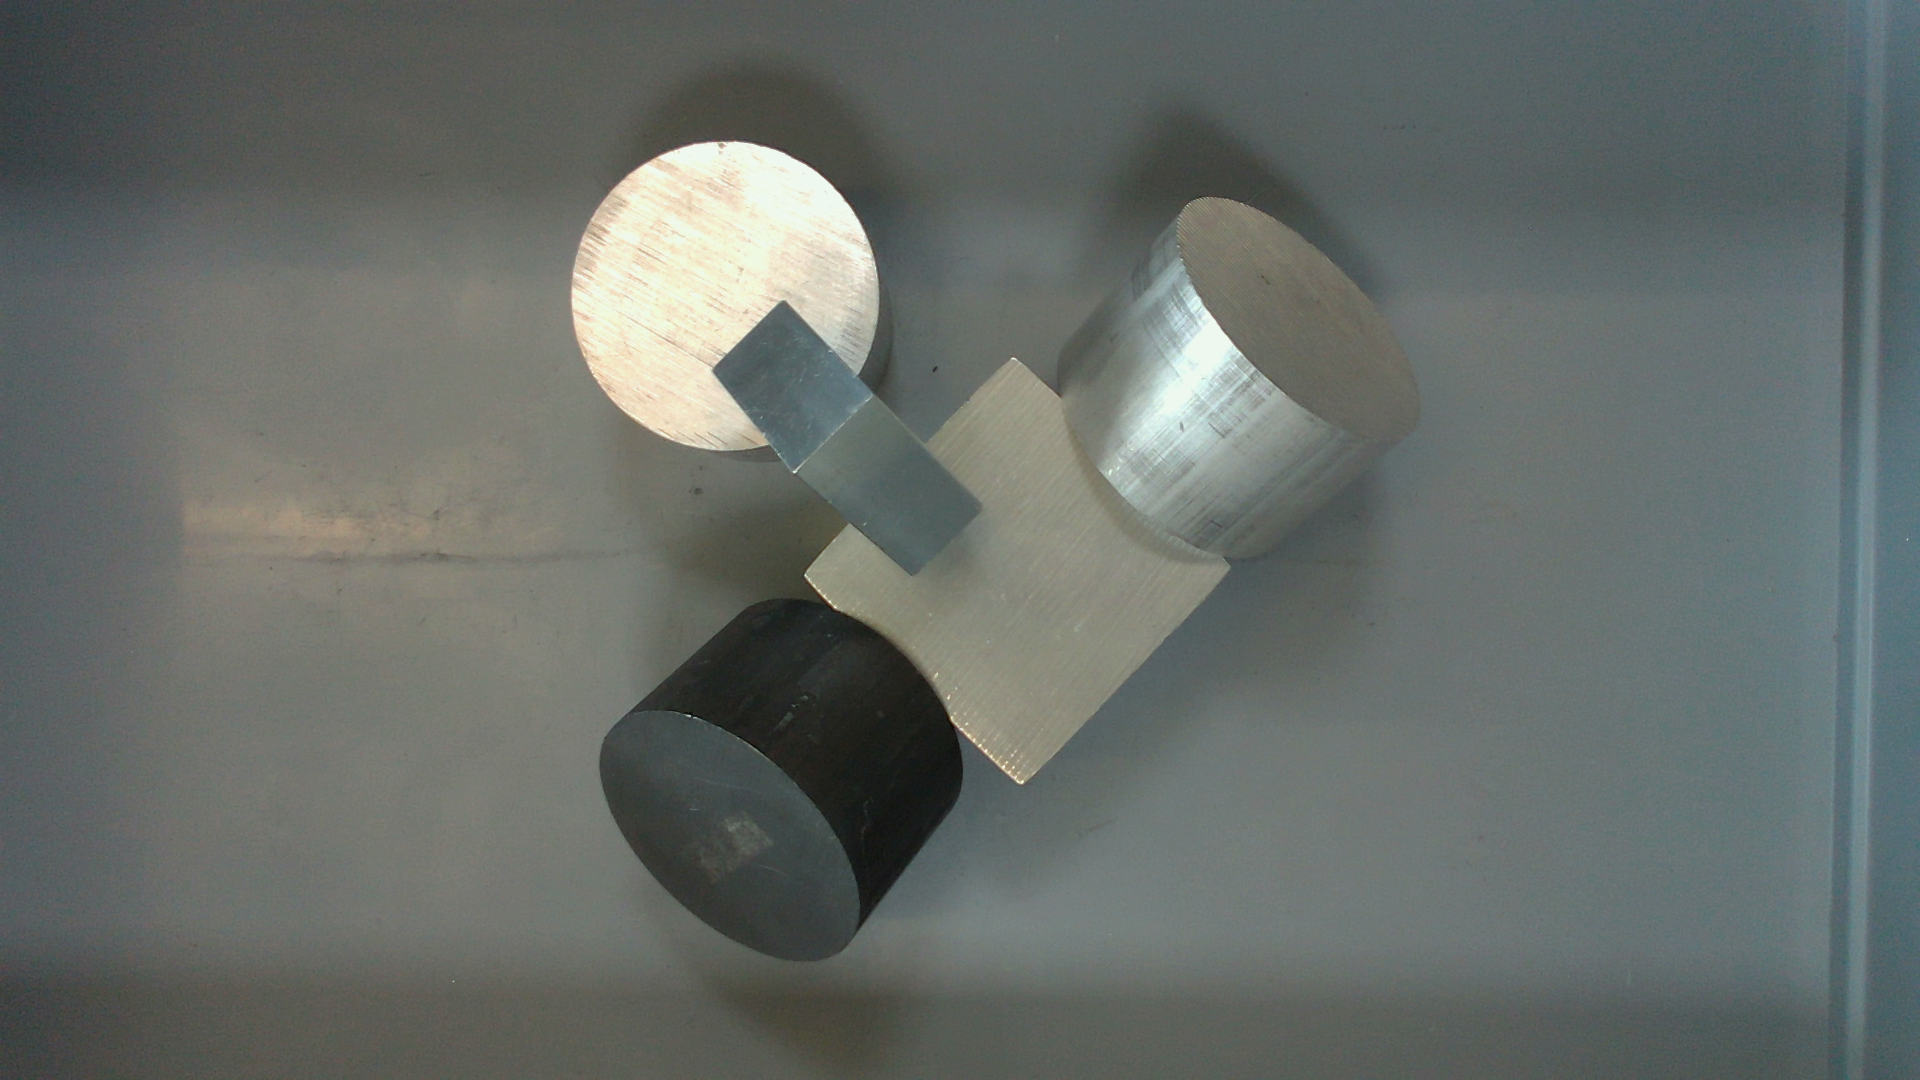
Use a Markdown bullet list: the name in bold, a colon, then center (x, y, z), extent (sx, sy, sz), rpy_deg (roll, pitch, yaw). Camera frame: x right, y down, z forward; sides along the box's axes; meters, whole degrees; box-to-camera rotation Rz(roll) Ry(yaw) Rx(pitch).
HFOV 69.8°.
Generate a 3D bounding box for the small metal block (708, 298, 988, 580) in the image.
- **small metal block**: center (-0.027, -0.024, 0.332), extent (0.025, 0.050, 0.050), rpy_deg (-44, 47, 2)

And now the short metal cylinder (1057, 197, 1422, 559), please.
- **short metal cylinder**: center (0.073, -0.042, 0.360), extent (0.080, 0.080, 0.050), rpy_deg (43, 129, 0)

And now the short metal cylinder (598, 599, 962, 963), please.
- **short metal cylinder**: center (-0.047, 0.063, 0.361), extent (0.080, 0.050, 0.080), rpy_deg (18, 130, 23)

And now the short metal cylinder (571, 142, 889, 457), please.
- **short metal cylinder**: center (-0.061, -0.063, 0.381), extent (0.080, 0.050, 0.080), rpy_deg (0, 90, 0)

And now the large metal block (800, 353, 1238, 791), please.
- **large metal block**: center (0.015, 0.008, 0.380), extent (0.080, 0.050, 0.080), rpy_deg (44, 90, 0)
